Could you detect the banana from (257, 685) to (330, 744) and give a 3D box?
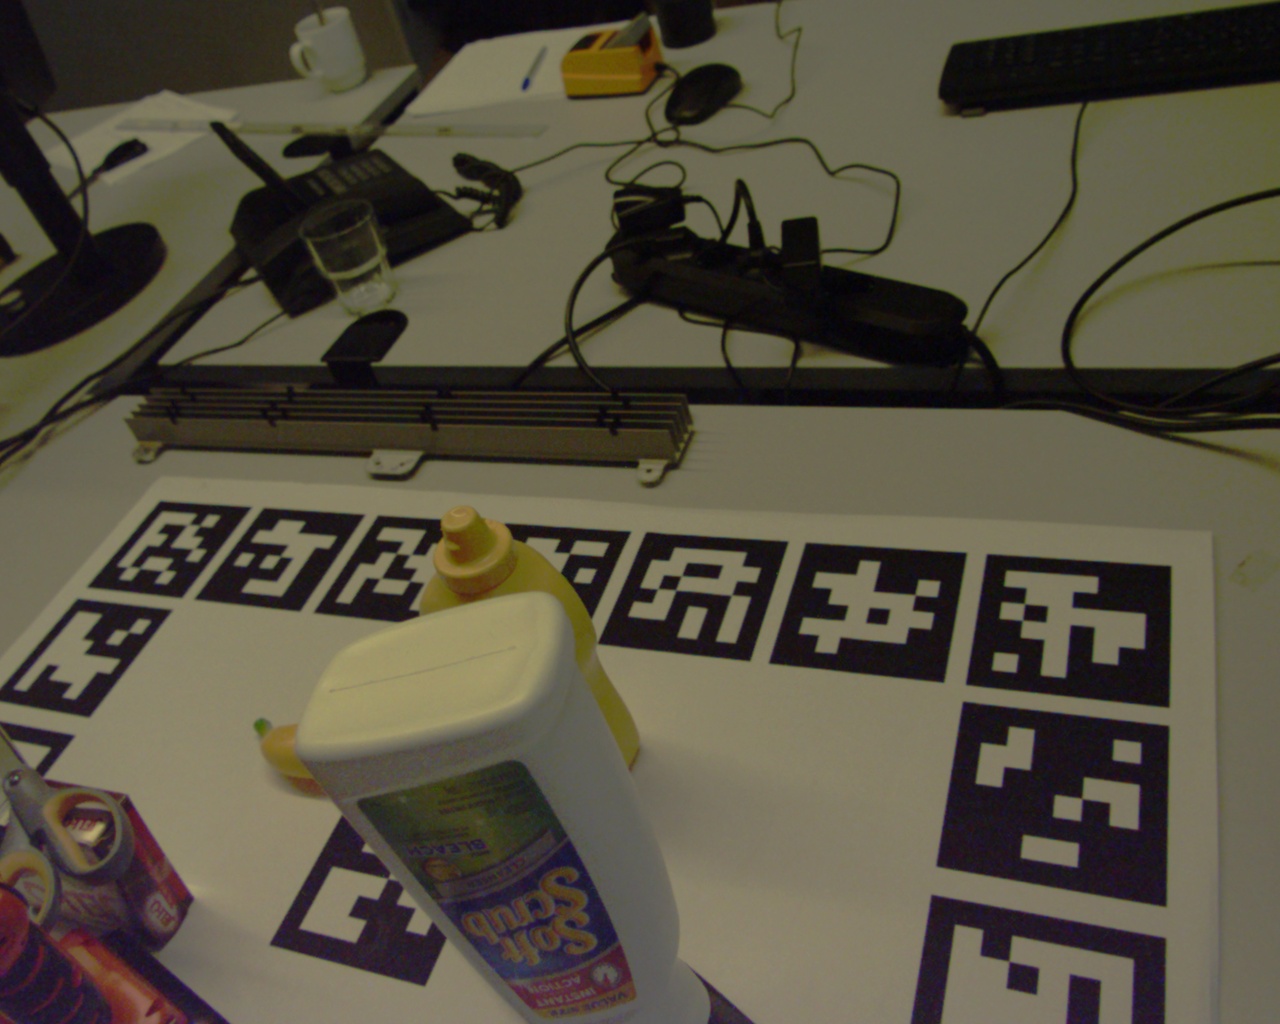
[{"bbox_3d":[-0.157,0.107,0.741,0.197,0.038,0.075,-24,24,-6],"label":"banana"}]

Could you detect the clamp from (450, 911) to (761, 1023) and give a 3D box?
[{"bbox_3d":[-0.043,0.228,0.552,0.204,0.036,0.165,-1,46,17],"label":"clamp"}]

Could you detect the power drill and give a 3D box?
[{"bbox_3d":[-0.321,0.196,0.555,0.187,0.186,0.057,12,42,34],"label":"power drill"}]

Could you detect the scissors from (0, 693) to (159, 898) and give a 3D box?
[{"bbox_3d":[-0.353,0.139,0.650,0.205,0.016,0.087,28,63,35],"label":"scissors"}]

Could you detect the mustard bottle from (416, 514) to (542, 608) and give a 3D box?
[{"bbox_3d":[-0.076,0.075,0.646,0.097,0.190,0.058,16,50,32],"label":"mustard bottle"}]

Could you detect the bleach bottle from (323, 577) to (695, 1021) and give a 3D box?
[{"bbox_3d":[-0.030,0.143,0.481,0.103,0.248,0.068,-15,36,14],"label":"bleach bottle"}]

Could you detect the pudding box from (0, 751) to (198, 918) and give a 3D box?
[{"bbox_3d":[-0.332,0.190,0.683,0.115,0.089,0.038,7,39,26],"label":"pudding box"}]
